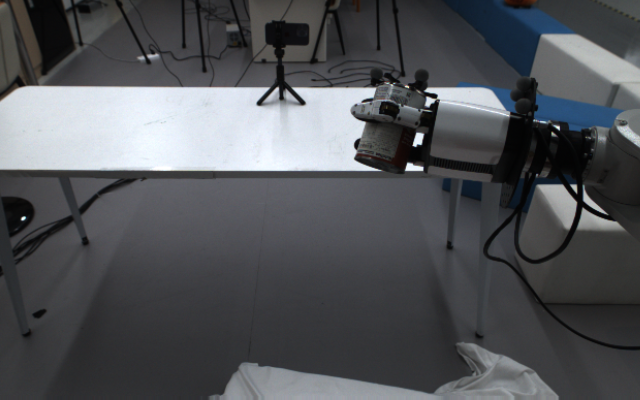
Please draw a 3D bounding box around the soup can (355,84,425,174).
[{"bbox_3d":[0.092,-0.092,0.625,0.067,0.101,0.067,17,-1,0],"label":"soup can"}]
